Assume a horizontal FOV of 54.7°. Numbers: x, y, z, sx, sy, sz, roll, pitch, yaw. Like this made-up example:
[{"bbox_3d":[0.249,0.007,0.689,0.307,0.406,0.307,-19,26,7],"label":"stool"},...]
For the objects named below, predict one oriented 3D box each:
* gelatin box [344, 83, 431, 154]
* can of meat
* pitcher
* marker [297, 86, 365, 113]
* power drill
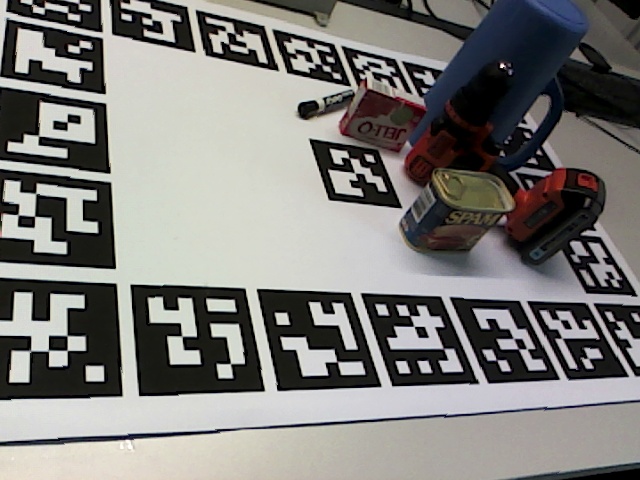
[{"bbox_3d":[0.086,-0.155,0.799,0.089,0.073,0.030,15,50,-21],"label":"gelatin box"},{"bbox_3d":[0.153,-0.029,0.713,0.101,0.084,0.058,4,49,-29],"label":"can of meat"},{"bbox_3d":[0.244,-0.195,0.814,0.189,0.242,0.133,25,47,0],"label":"pitcher"},{"bbox_3d":[0.016,-0.187,0.821,0.120,0.020,0.020,-24,68,-41],"label":"marker"},{"bbox_3d":[0.216,-0.103,0.749,0.187,0.185,0.057,35,46,-7],"label":"power drill"}]
